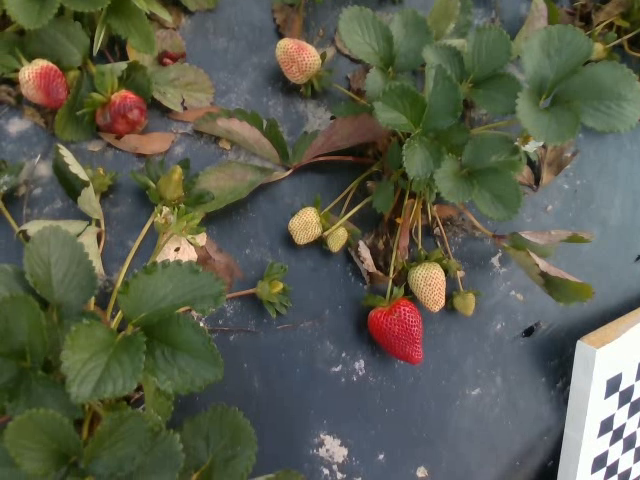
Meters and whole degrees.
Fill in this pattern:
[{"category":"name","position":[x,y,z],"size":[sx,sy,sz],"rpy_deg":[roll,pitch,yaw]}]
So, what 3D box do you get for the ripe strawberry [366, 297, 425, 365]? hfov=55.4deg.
[{"category":"ripe strawberry","position":[0.063,0.072,0.477],"size":[0.050,0.059,0.034],"rpy_deg":[-26,-19,-19]}]
